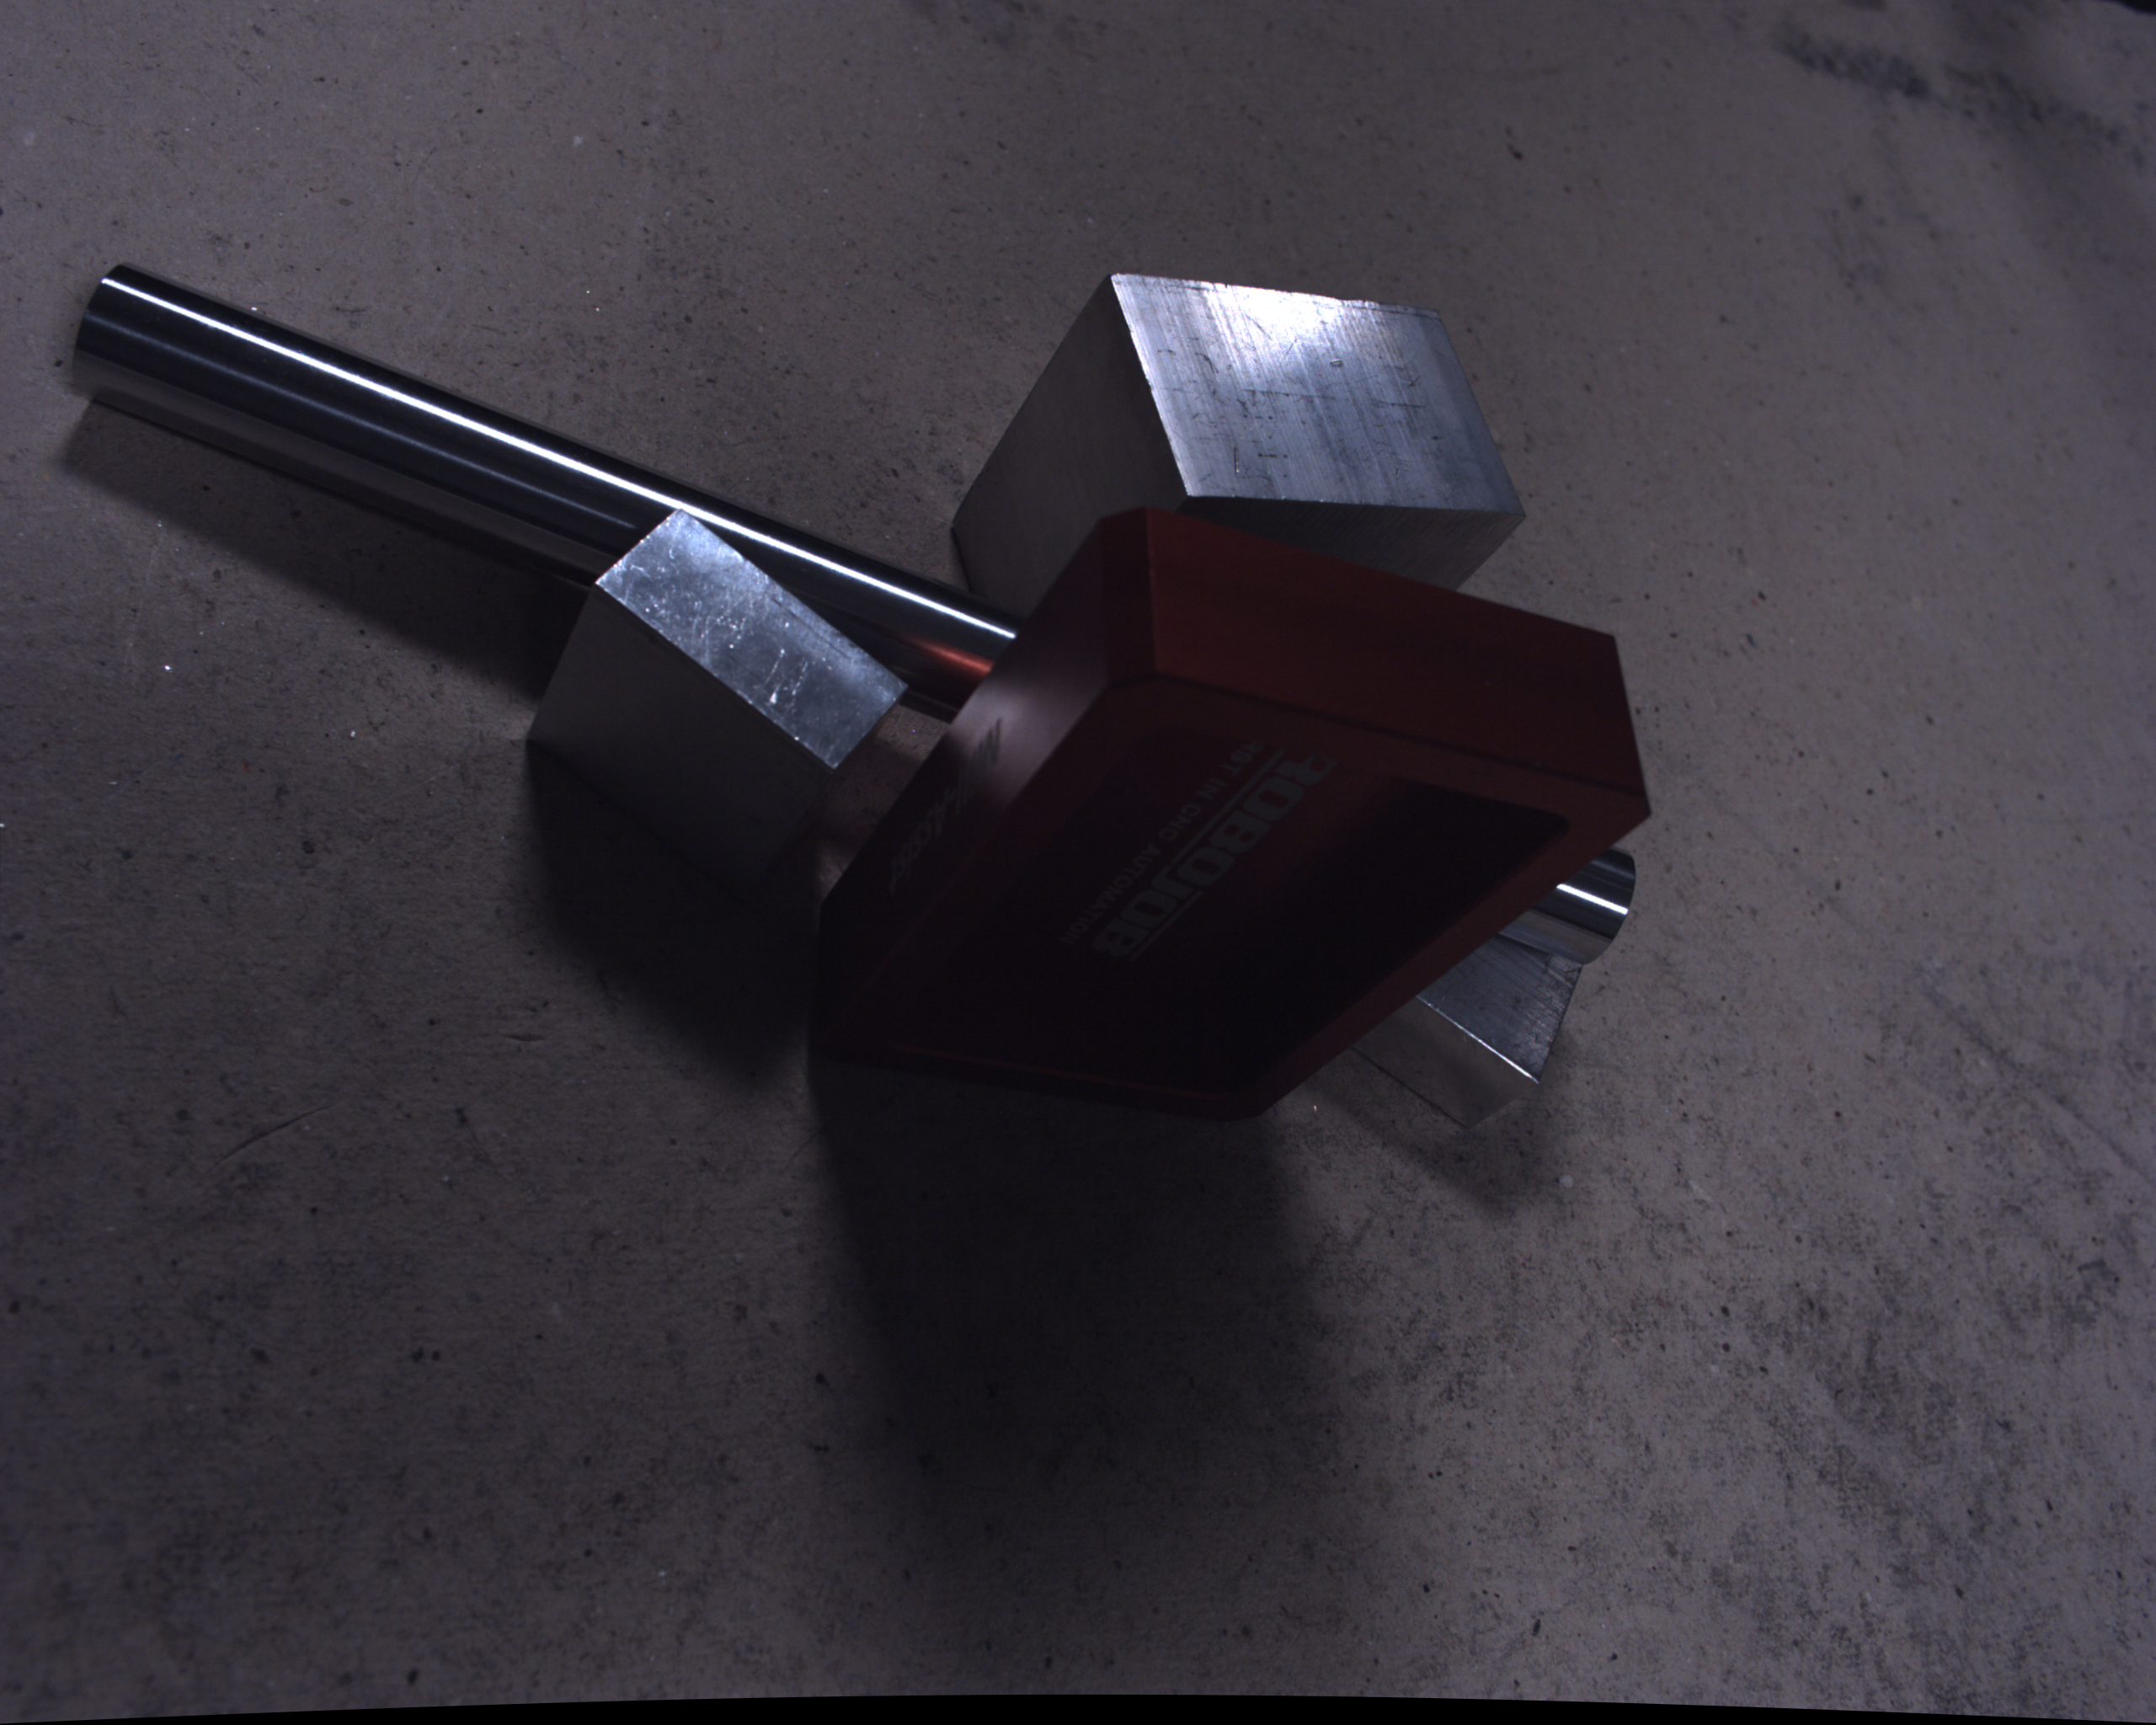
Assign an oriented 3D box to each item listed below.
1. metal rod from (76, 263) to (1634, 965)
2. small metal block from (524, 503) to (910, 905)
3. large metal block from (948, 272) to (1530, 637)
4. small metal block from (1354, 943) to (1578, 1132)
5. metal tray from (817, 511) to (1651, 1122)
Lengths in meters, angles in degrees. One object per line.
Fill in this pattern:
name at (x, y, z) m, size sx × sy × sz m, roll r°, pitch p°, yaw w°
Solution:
metal rod at (-0.033, -0.043, 0.397) m, size 0.302 × 0.025 × 0.025 m, roll 20°, pitch 54°, yaw -10°
small metal block at (-0.065, -0.027, 0.371) m, size 0.050 × 0.050 × 0.025 m, roll 38°, pitch 51°, yaw -3°
large metal block at (0.030, -0.071, 0.430) m, size 0.081 × 0.080 × 0.050 m, roll -2°, pitch 63°, yaw -30°
small metal block at (0.075, 0.019, 0.437) m, size 0.050 × 0.025 × 0.050 m, roll 36°, pitch 51°, yaw -5°
metal tray at (0.019, 0.001, 0.350) m, size 0.091 × 0.129 × 0.030 m, roll 12°, pitch 57°, yaw -22°
